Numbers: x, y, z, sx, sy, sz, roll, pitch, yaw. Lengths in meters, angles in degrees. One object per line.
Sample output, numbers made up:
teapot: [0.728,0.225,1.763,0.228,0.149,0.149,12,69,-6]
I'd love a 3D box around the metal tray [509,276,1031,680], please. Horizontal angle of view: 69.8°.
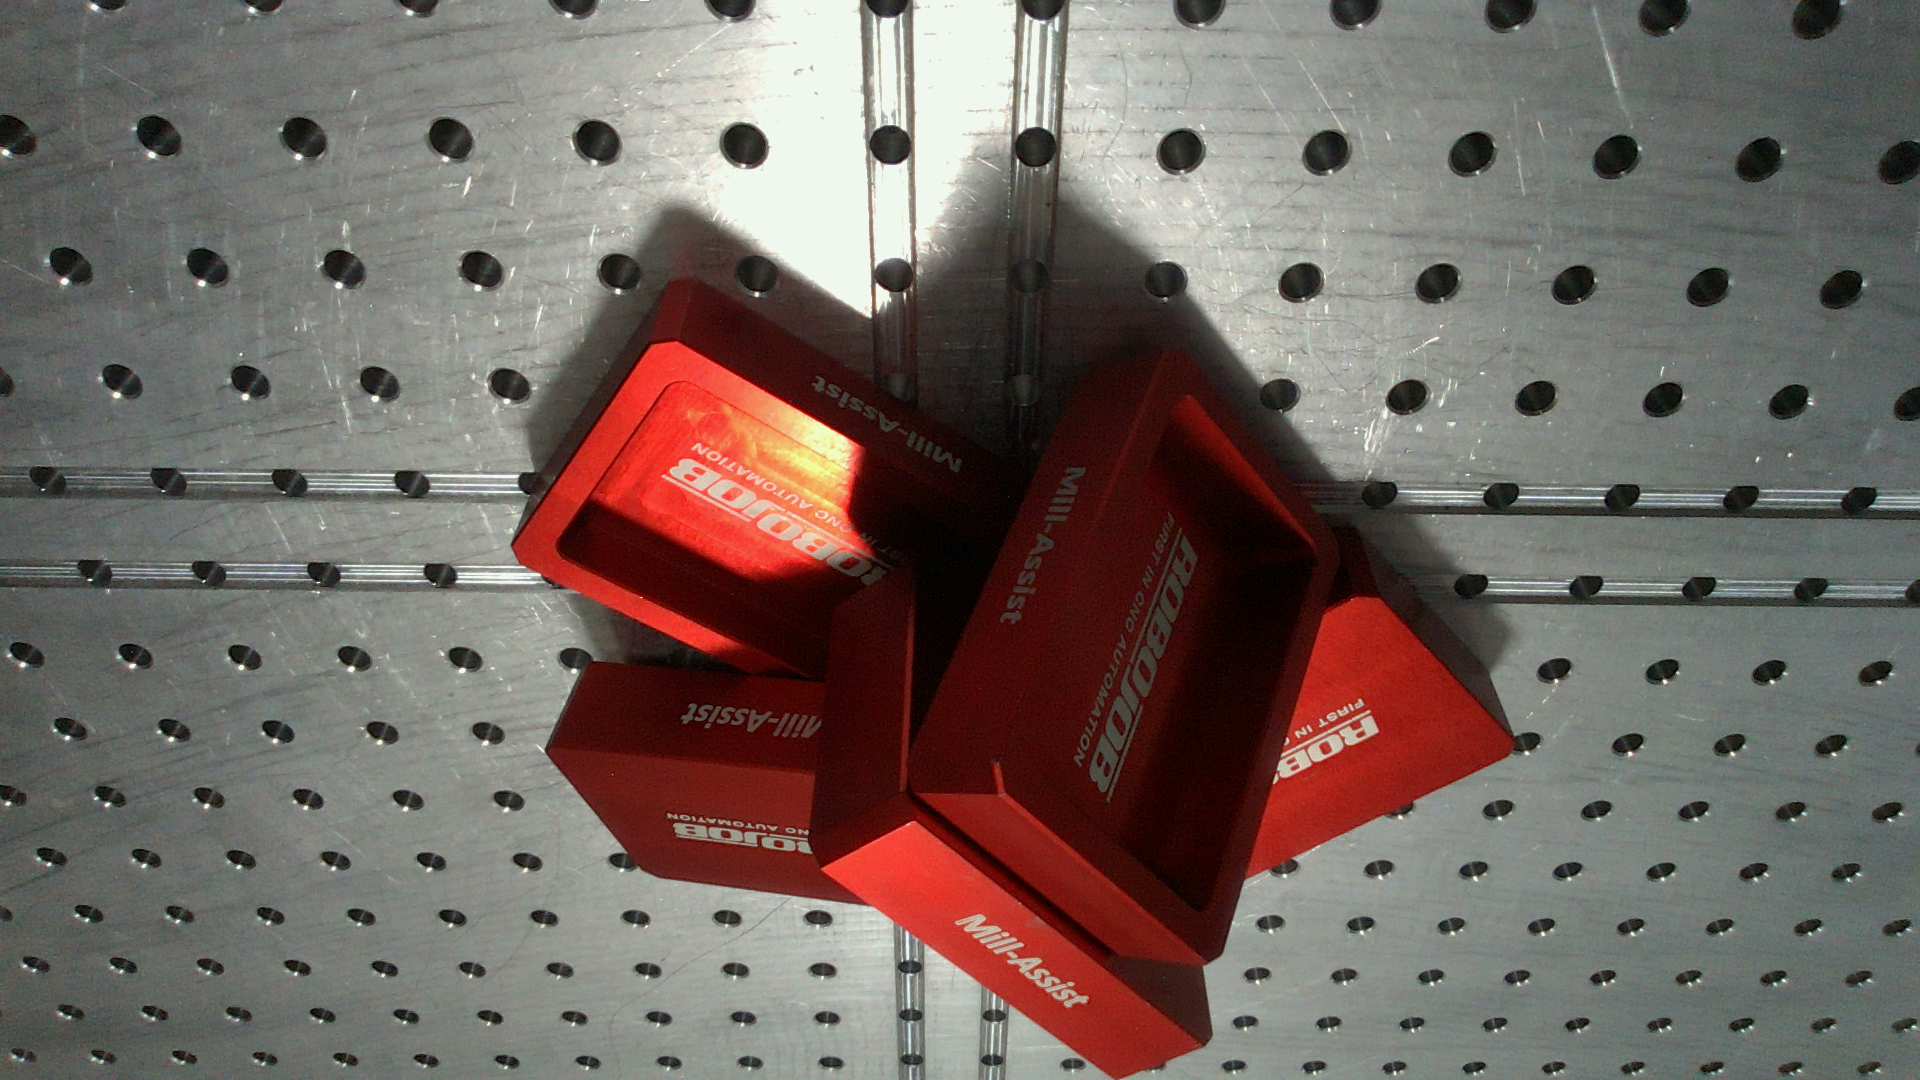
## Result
metal tray: [-0.046,-0.004,0.387,0.130,0.030,0.090,29,124,-22]

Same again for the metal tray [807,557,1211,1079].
metal tray: [0.016,0.076,0.375,0.030,0.090,0.130,-31,124,24]

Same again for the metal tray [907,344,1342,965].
metal tray: [0.048,0.027,0.349,0.030,0.130,0.090,-9,136,46]

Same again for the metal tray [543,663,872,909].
metal tray: [-0.050,0.080,0.426,0.130,0.030,0.090,4,142,16]

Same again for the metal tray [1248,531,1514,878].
metal tray: [0.095,0.062,0.442,0.130,0.030,0.090,-34,122,25]
